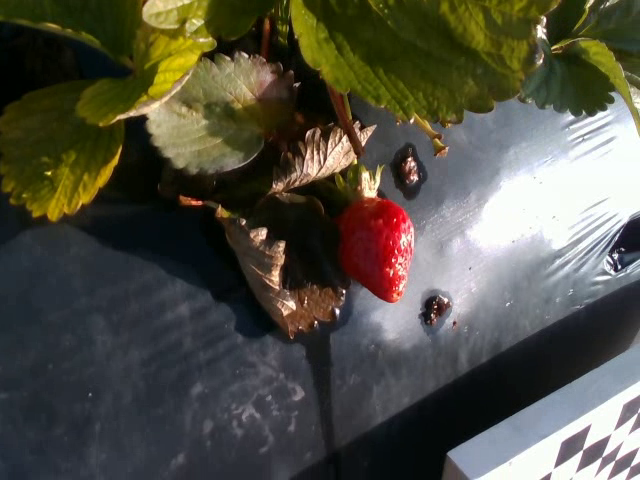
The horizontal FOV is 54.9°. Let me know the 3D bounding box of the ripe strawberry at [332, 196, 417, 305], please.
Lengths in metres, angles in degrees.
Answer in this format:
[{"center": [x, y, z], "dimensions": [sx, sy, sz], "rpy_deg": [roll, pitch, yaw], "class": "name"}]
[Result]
[{"center": [0.025, 0.011, 0.229], "dimensions": [0.046, 0.054, 0.037], "rpy_deg": [-1, -16, -38], "class": "ripe strawberry"}]
